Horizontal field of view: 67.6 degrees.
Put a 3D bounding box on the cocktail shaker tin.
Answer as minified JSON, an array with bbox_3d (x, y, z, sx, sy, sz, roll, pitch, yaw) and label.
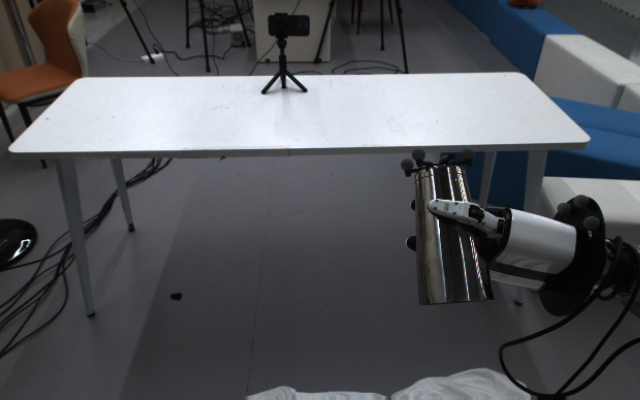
[{"bbox_3d":[0.166,0.046,0.624,0.093,0.093,0.170,-3,76,-8],"label":"cocktail shaker tin"}]
